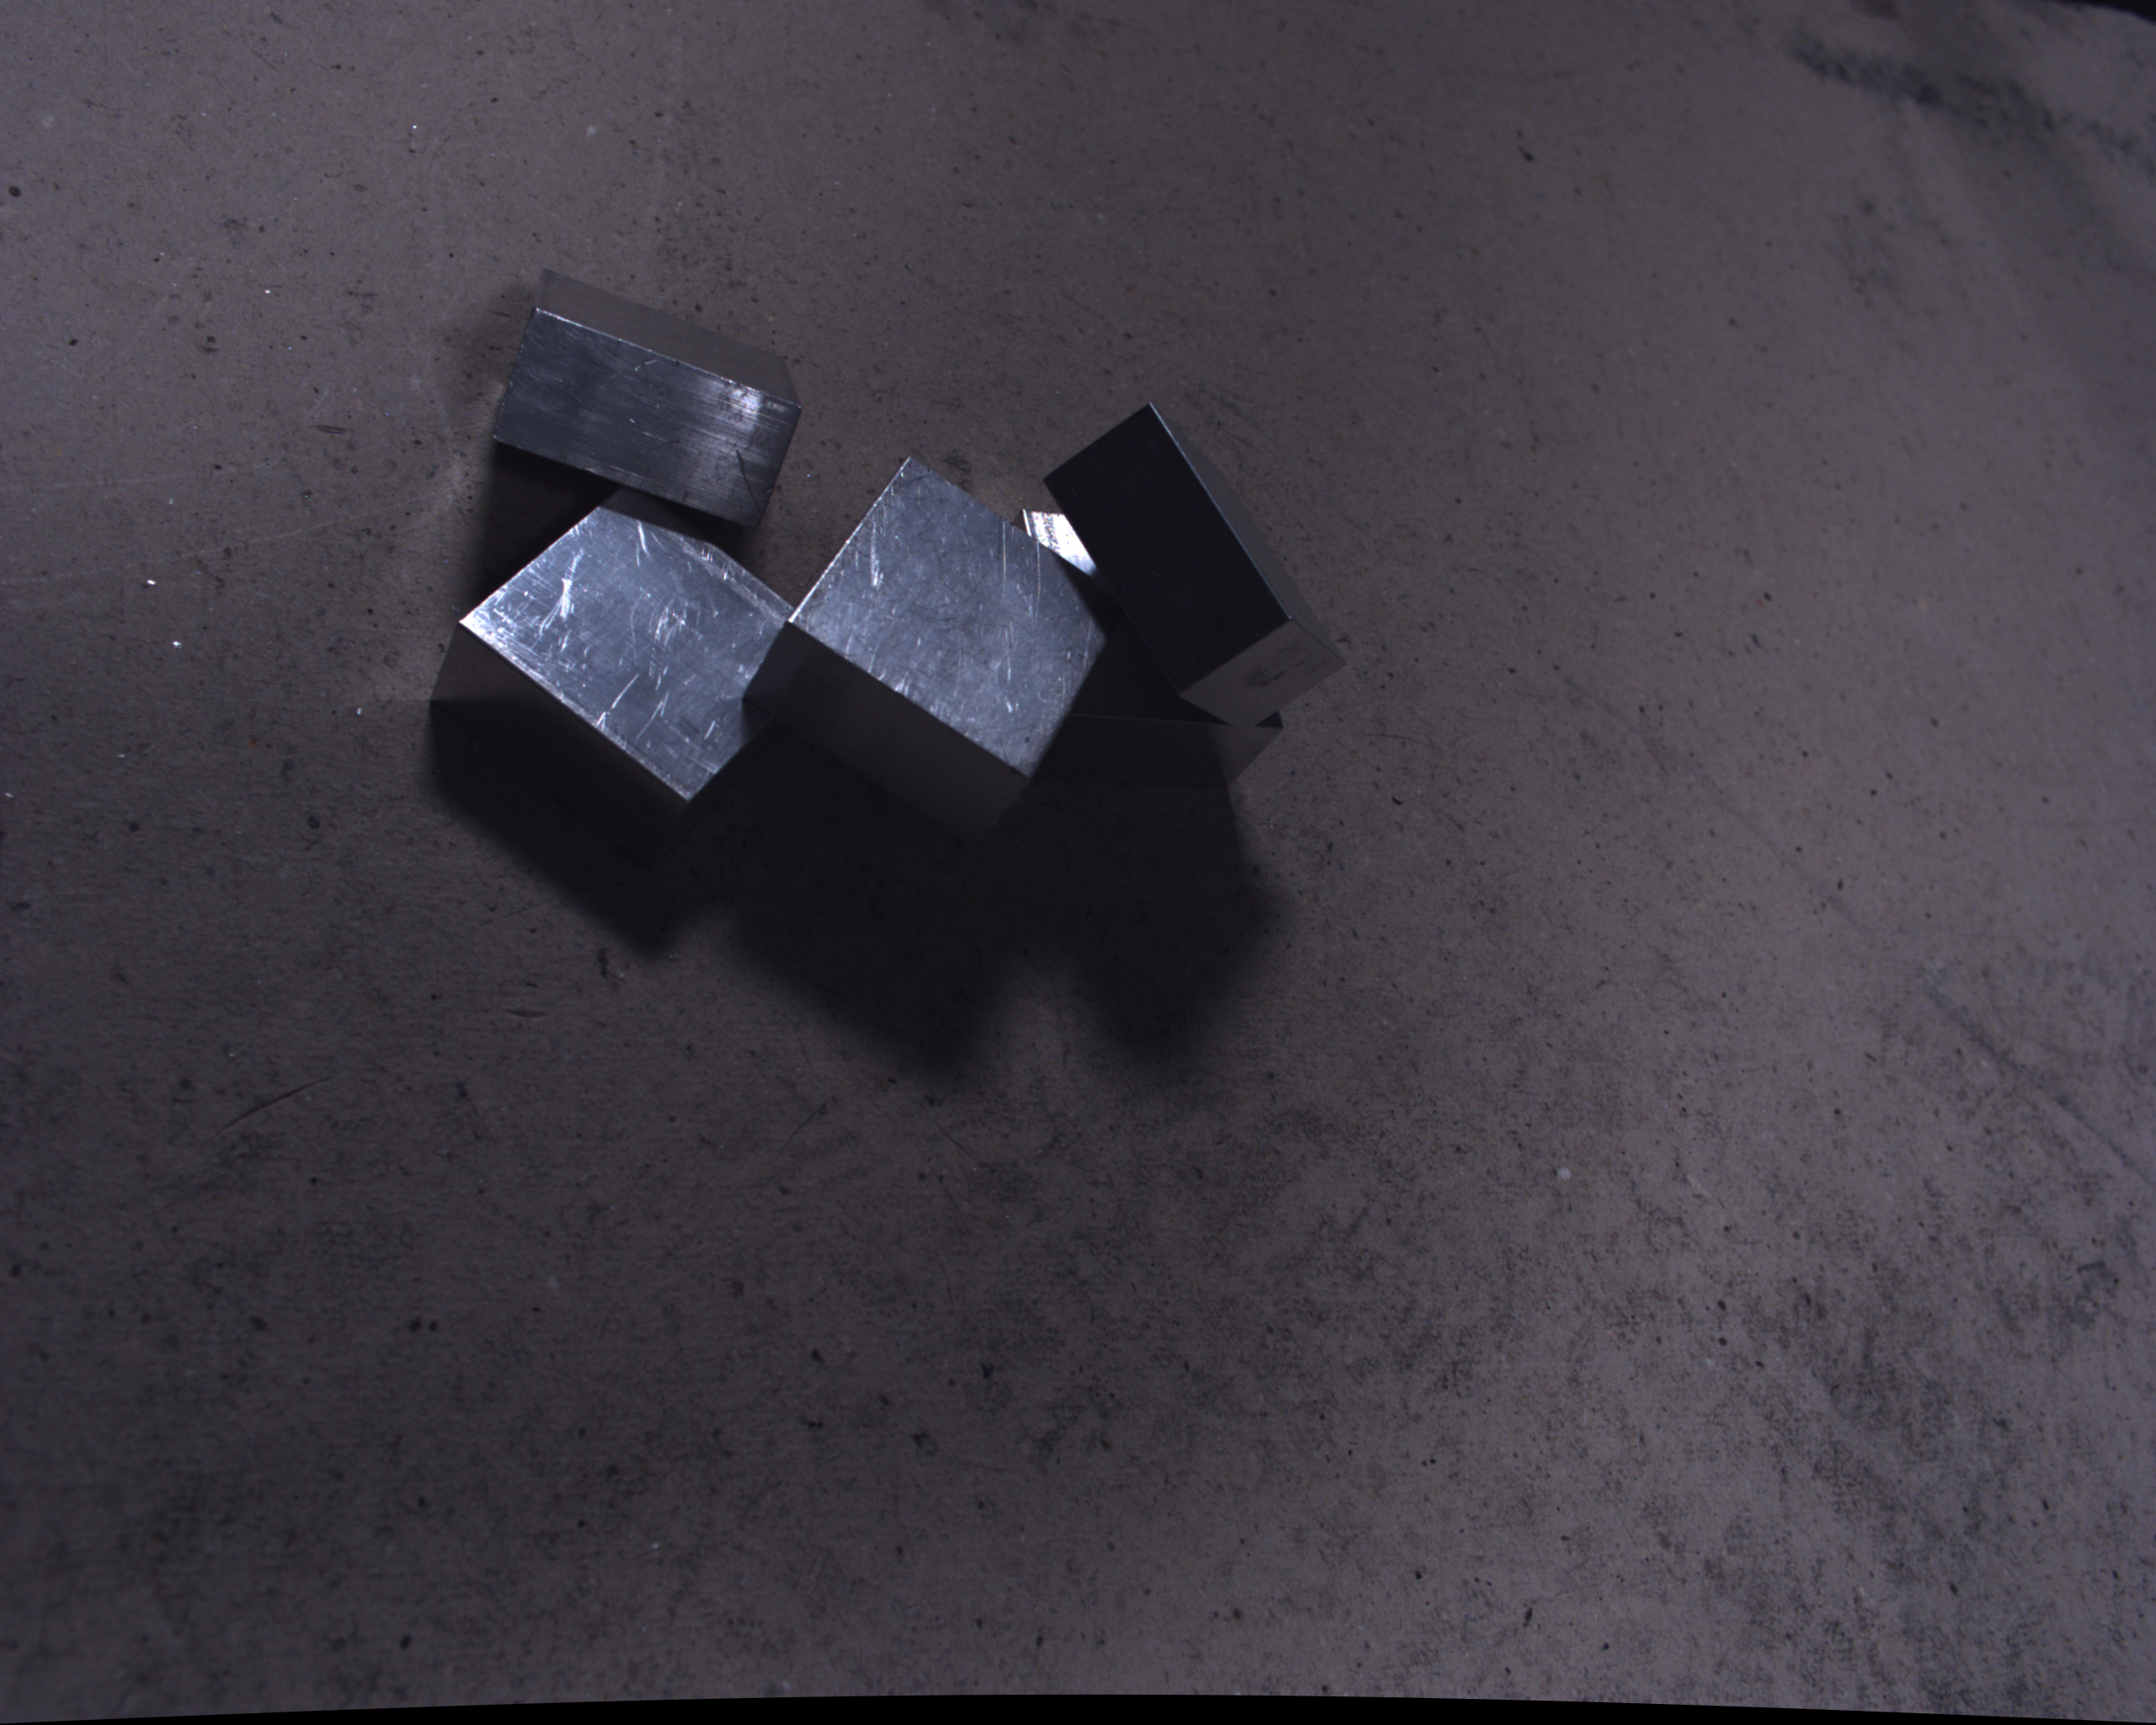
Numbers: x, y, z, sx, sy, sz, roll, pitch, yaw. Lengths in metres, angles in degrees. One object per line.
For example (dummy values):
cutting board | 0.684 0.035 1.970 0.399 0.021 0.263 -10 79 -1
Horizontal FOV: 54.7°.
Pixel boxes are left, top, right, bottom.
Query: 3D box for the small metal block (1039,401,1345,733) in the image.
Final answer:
small metal block | 0.023 -0.056 0.405 0.050 0.025 0.050 59 13 14

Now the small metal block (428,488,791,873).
small metal block | -0.081 -0.035 0.384 0.050 0.025 0.050 39 51 -3

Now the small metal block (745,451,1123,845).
small metal block | -0.025 -0.040 0.384 0.050 0.025 0.050 33 51 -7

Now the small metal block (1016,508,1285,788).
small metal block | 0.010 -0.044 0.440 0.050 0.025 0.050 2 61 -28

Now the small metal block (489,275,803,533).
small metal block | -0.083 -0.089 0.401 0.050 0.025 0.050 17 18 -19
